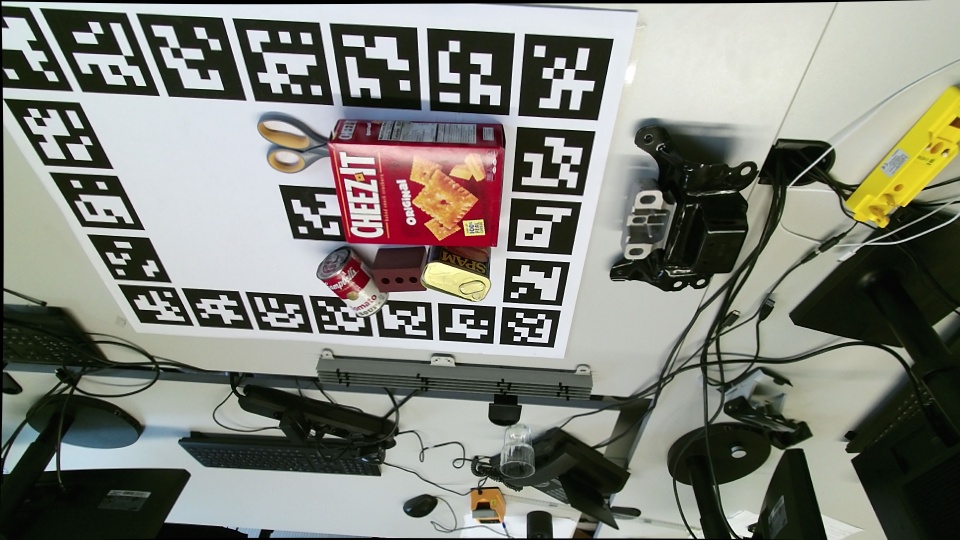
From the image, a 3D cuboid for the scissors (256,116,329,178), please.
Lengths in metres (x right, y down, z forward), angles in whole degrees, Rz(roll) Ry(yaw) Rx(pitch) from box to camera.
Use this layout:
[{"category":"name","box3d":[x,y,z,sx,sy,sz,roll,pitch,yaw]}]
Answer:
[{"category":"scissors","box3d":[-0.193,-0.167,0.721,0.203,0.016,0.088,-1,129,4]}]

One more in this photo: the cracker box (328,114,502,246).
[{"category":"cracker box","box3d":[-0.079,-0.114,0.718,0.214,0.071,0.164,-3,130,1]}]

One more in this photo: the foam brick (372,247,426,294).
[{"category":"foam brick","box3d":[-0.127,0.001,0.849,0.078,0.051,0.053,-5,128,8]}]

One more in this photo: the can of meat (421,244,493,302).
[{"category":"can of meat","box3d":[-0.031,-0.007,0.812,0.102,0.083,0.058,14,128,-8]}]

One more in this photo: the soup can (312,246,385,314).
[{"category":"soup can","box3d":[-0.210,0.018,0.866,0.068,0.067,0.102,-28,128,23]}]
